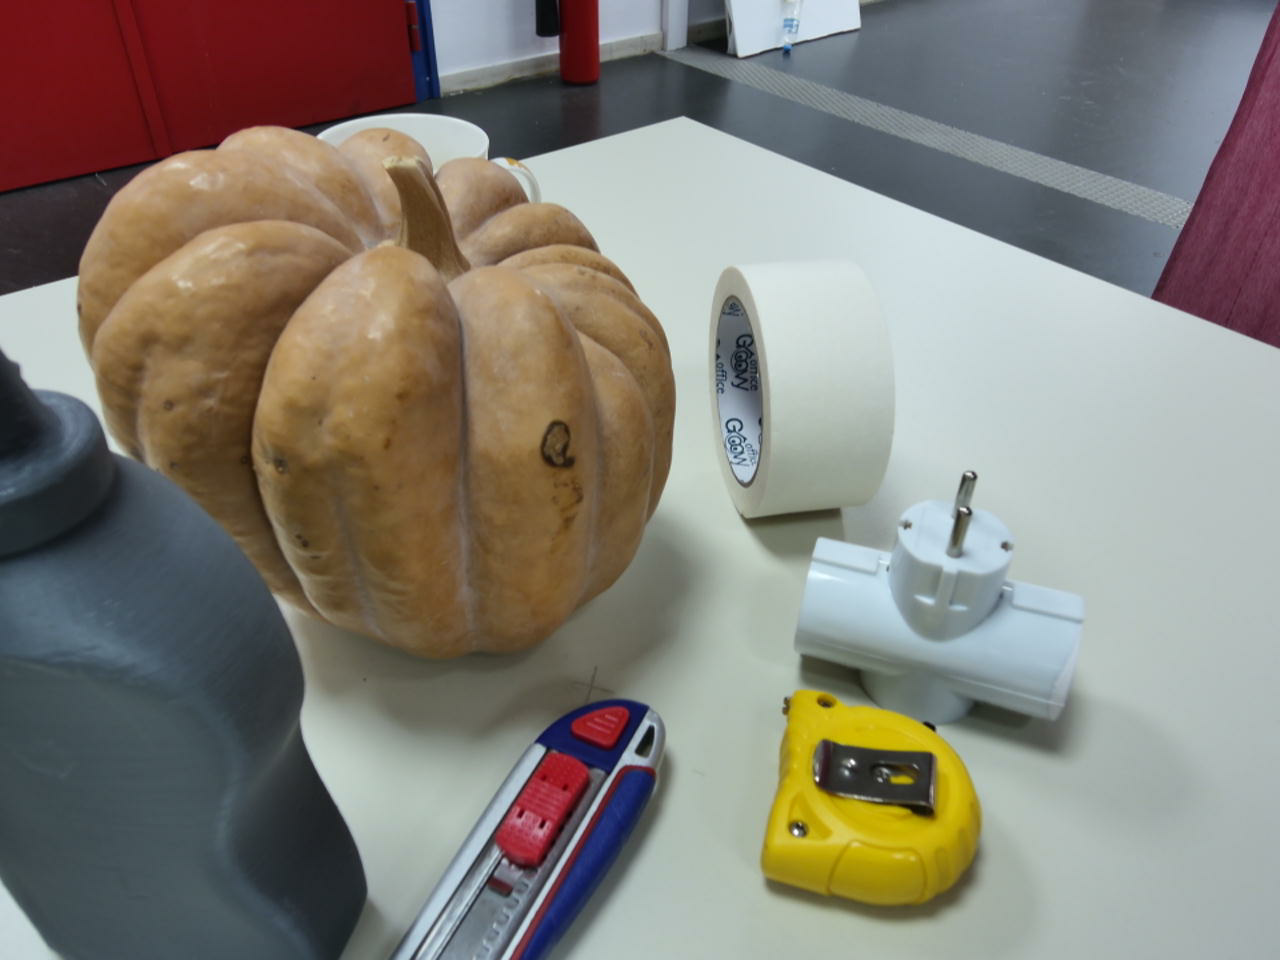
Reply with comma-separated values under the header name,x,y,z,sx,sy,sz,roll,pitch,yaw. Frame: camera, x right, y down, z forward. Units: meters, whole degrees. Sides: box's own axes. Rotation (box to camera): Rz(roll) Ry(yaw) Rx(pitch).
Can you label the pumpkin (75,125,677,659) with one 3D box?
name,x,y,z,sx,sy,sz,roll,pitch,yaw
pumpkin,-0.084,-0.030,0.354,0.199,0.177,0.198,0,37,0
